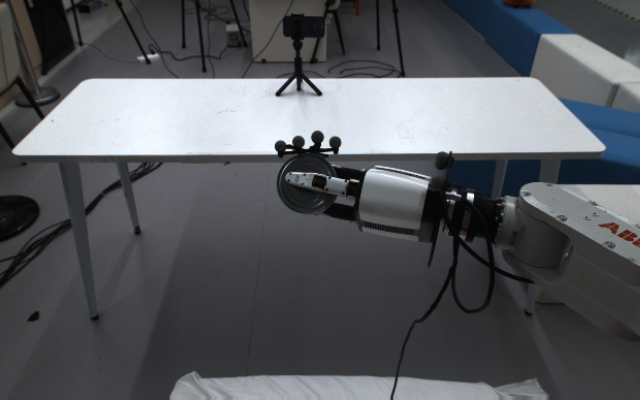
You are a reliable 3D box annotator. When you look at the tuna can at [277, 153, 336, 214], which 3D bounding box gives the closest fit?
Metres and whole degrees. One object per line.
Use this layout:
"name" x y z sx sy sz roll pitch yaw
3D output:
"tuna can" -0.014 -0.017 0.682 0.085 0.085 0.034 10 -6 11
